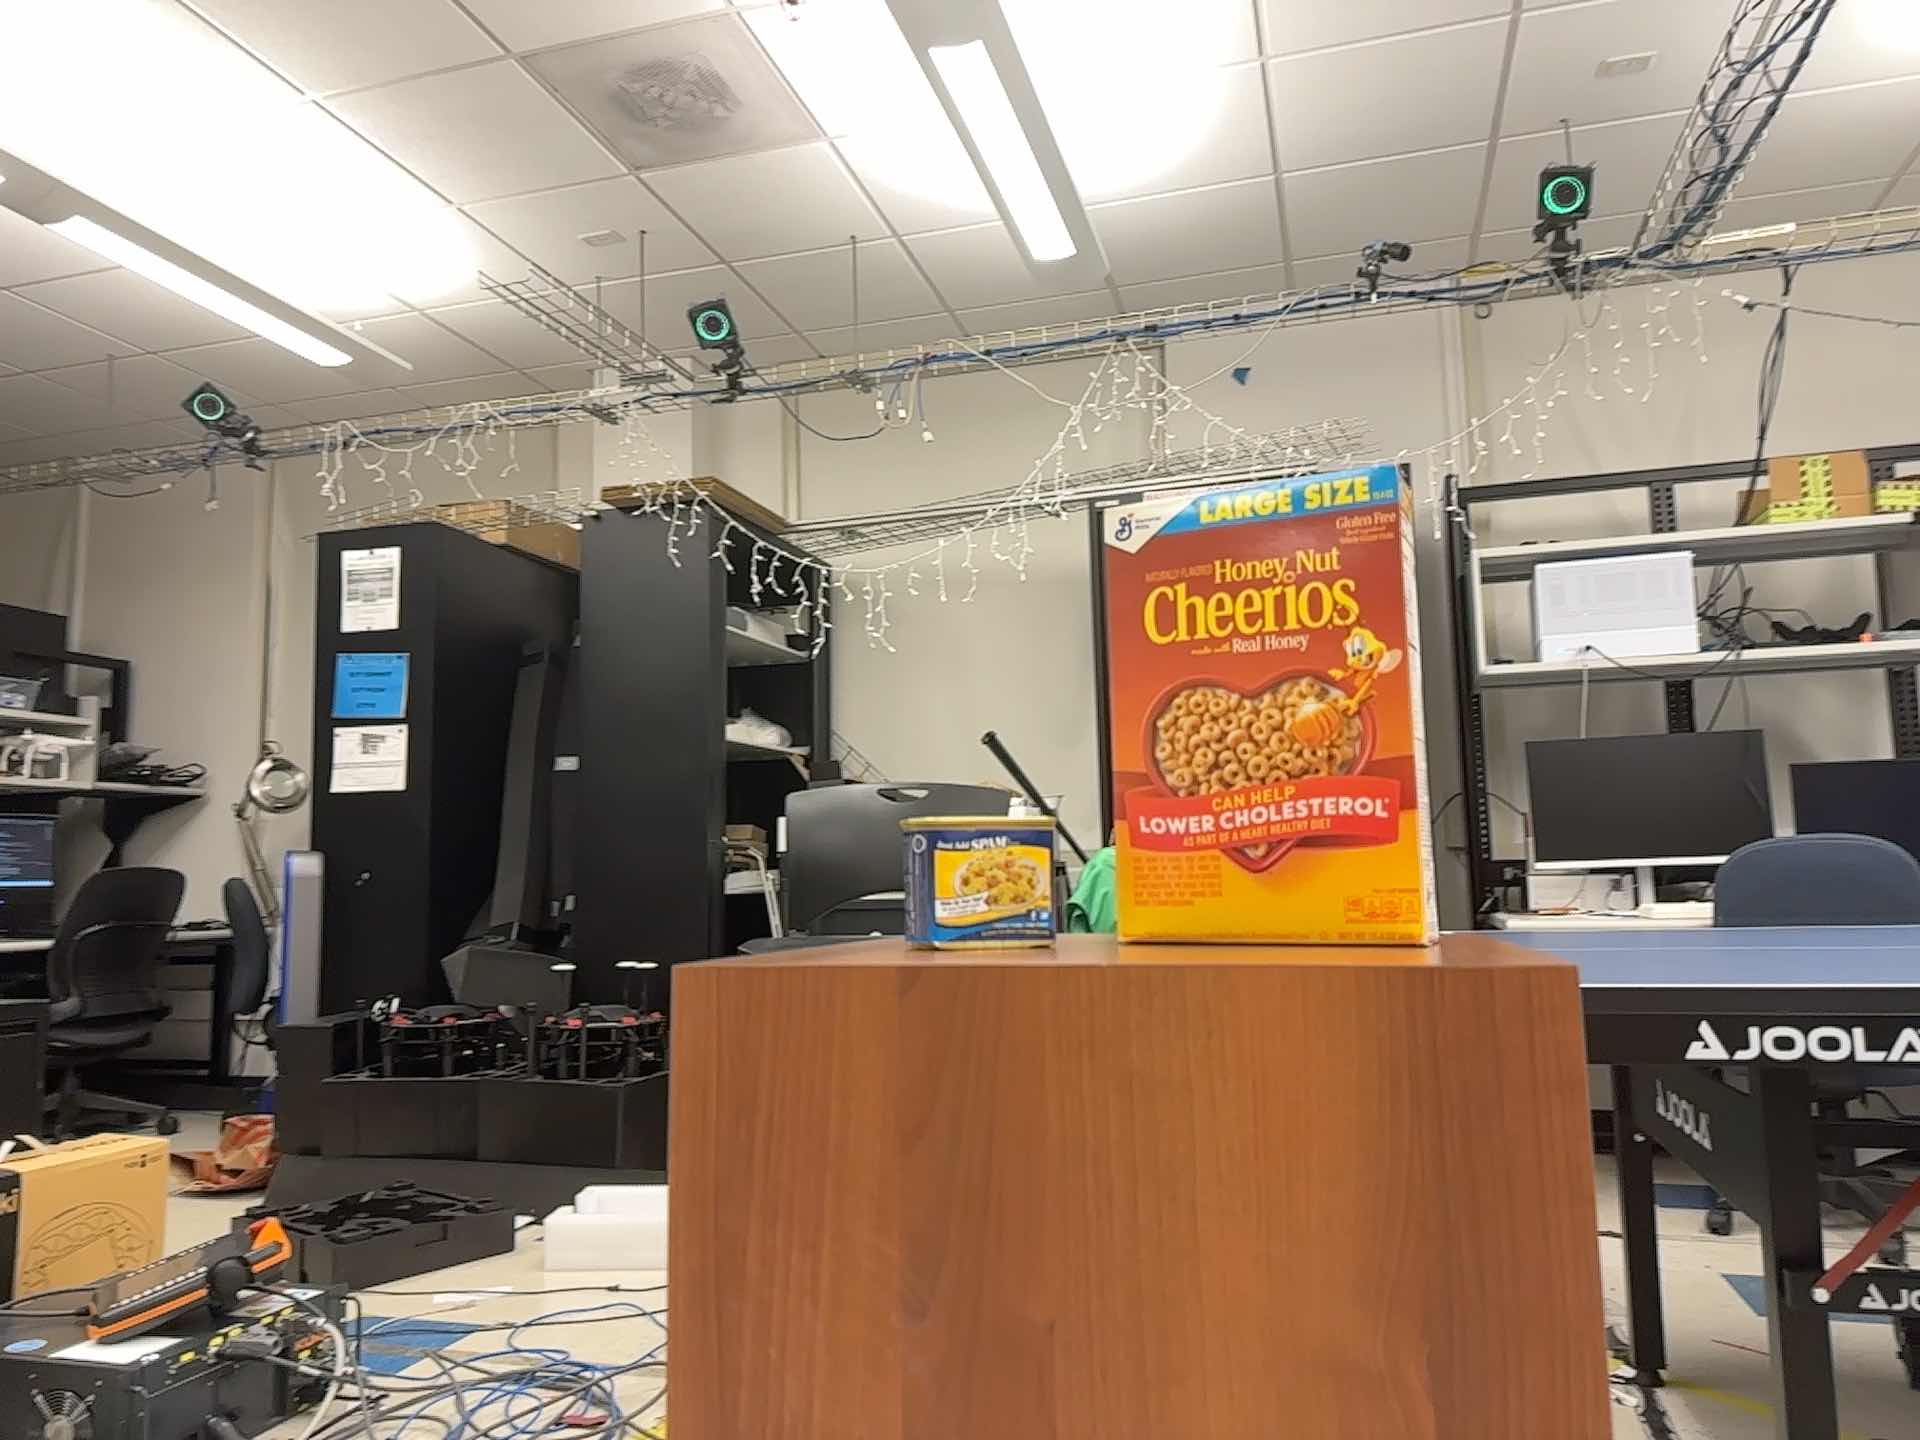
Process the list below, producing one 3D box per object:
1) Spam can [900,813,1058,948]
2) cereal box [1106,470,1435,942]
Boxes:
[{"bbox_3d":[0.013,0.107,0.890,0.100,0.083,0.056,3,-10,-22],"label":"Spam can"},{"bbox_3d":[0.208,-0.004,0.923,0.195,0.297,0.065,-4,-10,24],"label":"cereal box"}]
